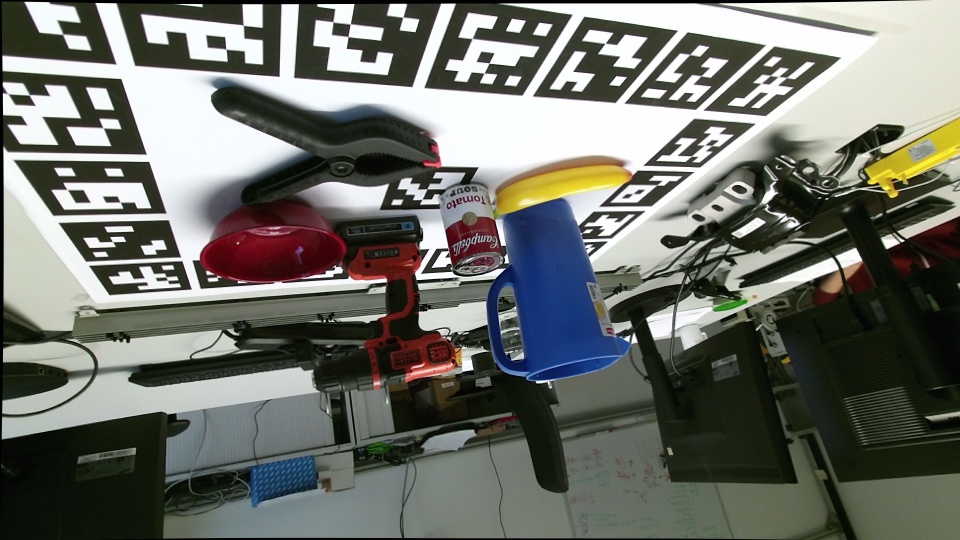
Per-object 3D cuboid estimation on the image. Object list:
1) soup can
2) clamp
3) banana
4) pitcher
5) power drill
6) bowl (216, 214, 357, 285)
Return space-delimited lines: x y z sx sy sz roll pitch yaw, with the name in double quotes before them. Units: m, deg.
"soup can" -0.007 -0.037 0.693 0.068 0.101 0.068 -11 166 -3
"clamp" -0.127 -0.099 0.536 0.203 0.036 0.165 -5 152 -21
"banana" 0.116 -0.097 0.713 0.198 0.038 0.074 -13 166 1
"pitcher" 0.100 0.045 0.767 0.189 0.241 0.133 -14 161 -1
"power drill" -0.133 0.069 0.705 0.185 0.186 0.057 -6 156 -19
"bowl" -0.234 -0.023 0.644 0.162 0.055 0.162 -13 157 -6
